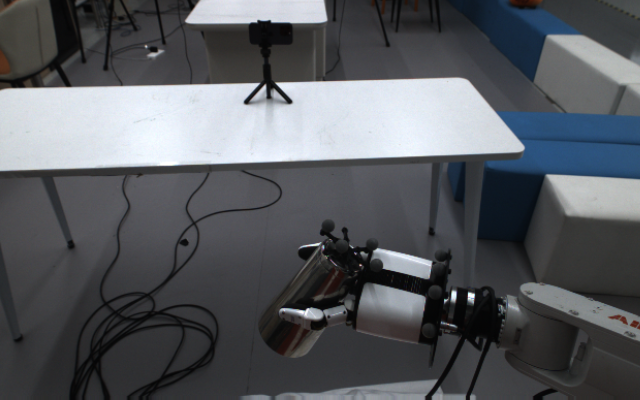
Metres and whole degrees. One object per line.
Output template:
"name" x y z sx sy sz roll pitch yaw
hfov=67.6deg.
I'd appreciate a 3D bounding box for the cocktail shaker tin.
"cocktail shaker tin" -0.010 0.128 0.680 0.093 0.170 0.093 26 32 -18
